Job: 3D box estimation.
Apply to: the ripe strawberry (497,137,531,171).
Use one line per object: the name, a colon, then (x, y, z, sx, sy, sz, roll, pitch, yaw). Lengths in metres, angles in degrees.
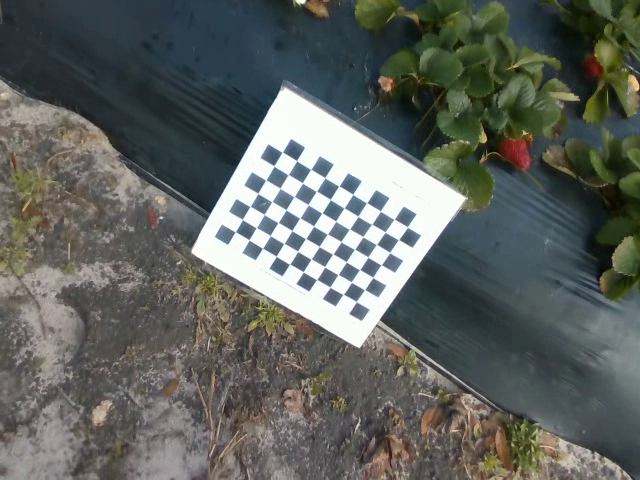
ripe strawberry: (0.271, -0.121, 0.922, 0.050, 0.064, 0.043, -25, 13, 7)
